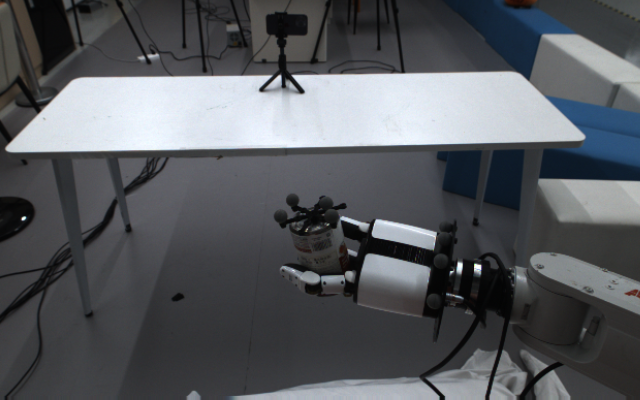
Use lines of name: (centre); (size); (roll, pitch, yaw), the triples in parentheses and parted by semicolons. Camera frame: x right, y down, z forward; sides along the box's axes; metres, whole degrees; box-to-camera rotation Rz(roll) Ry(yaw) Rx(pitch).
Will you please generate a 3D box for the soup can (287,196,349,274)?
soup can: (0.004, 0.067, 0.637); (0.067, 0.101, 0.067); (-11, 27, 6)
